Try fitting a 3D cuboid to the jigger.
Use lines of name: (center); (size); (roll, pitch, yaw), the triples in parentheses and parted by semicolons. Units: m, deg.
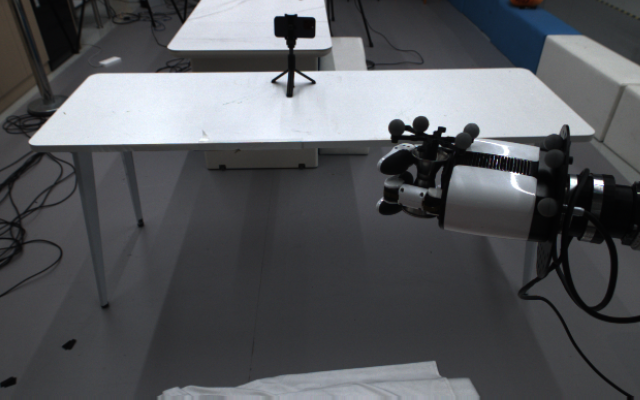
jigger: (0.121, -0.020, 0.544); (0.043, 0.071, 0.043); (3, 24, -1)
